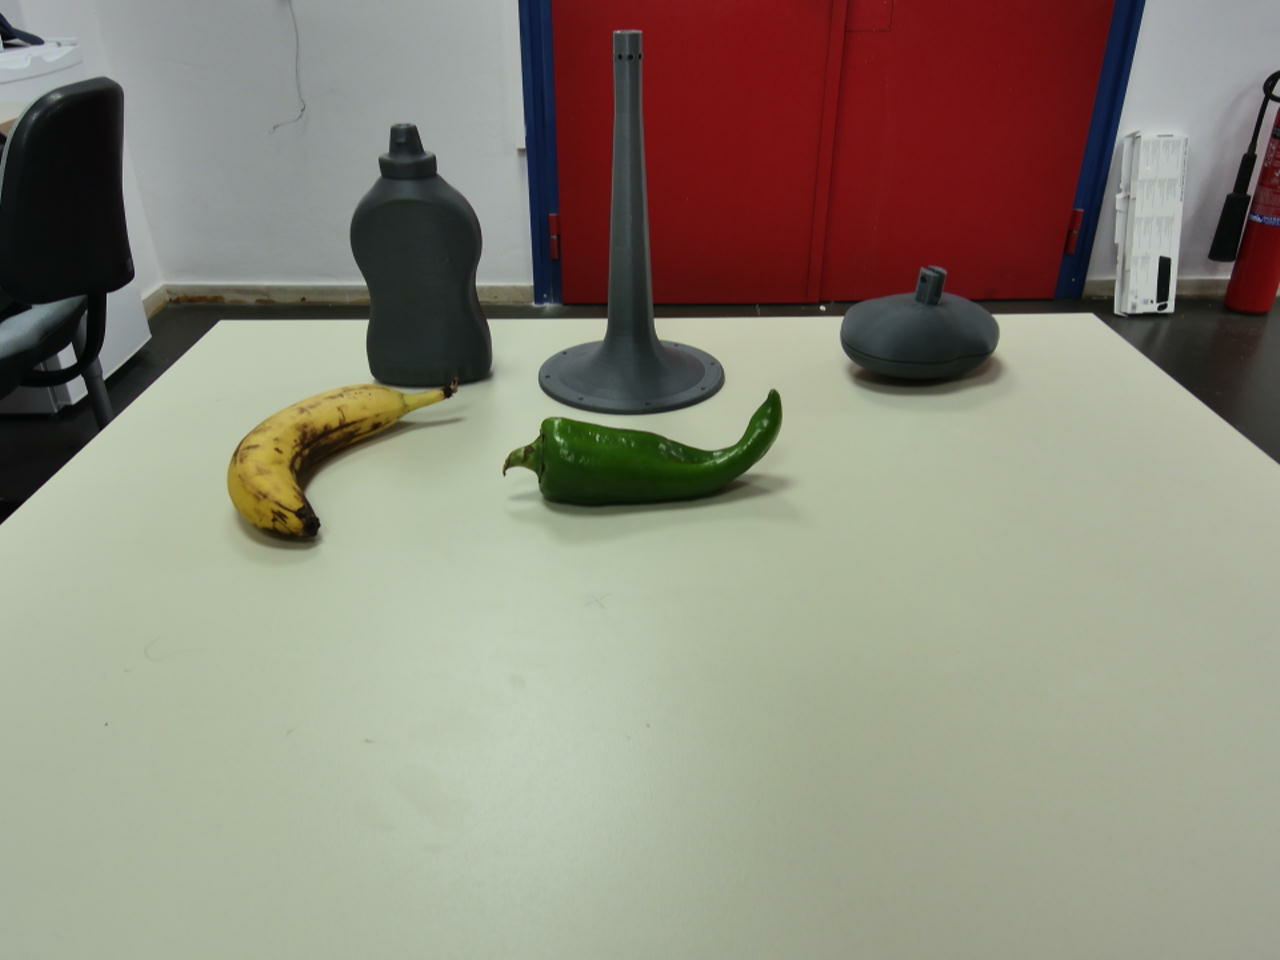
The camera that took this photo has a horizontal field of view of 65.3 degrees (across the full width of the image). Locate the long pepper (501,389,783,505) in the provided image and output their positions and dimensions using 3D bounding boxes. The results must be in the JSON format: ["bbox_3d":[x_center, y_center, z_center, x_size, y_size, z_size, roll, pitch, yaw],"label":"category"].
[{"bbox_3d":[0.002,-0.021,0.617,0.175,0.065,0.058,-1,27,-2],"label":"long pepper"}]
